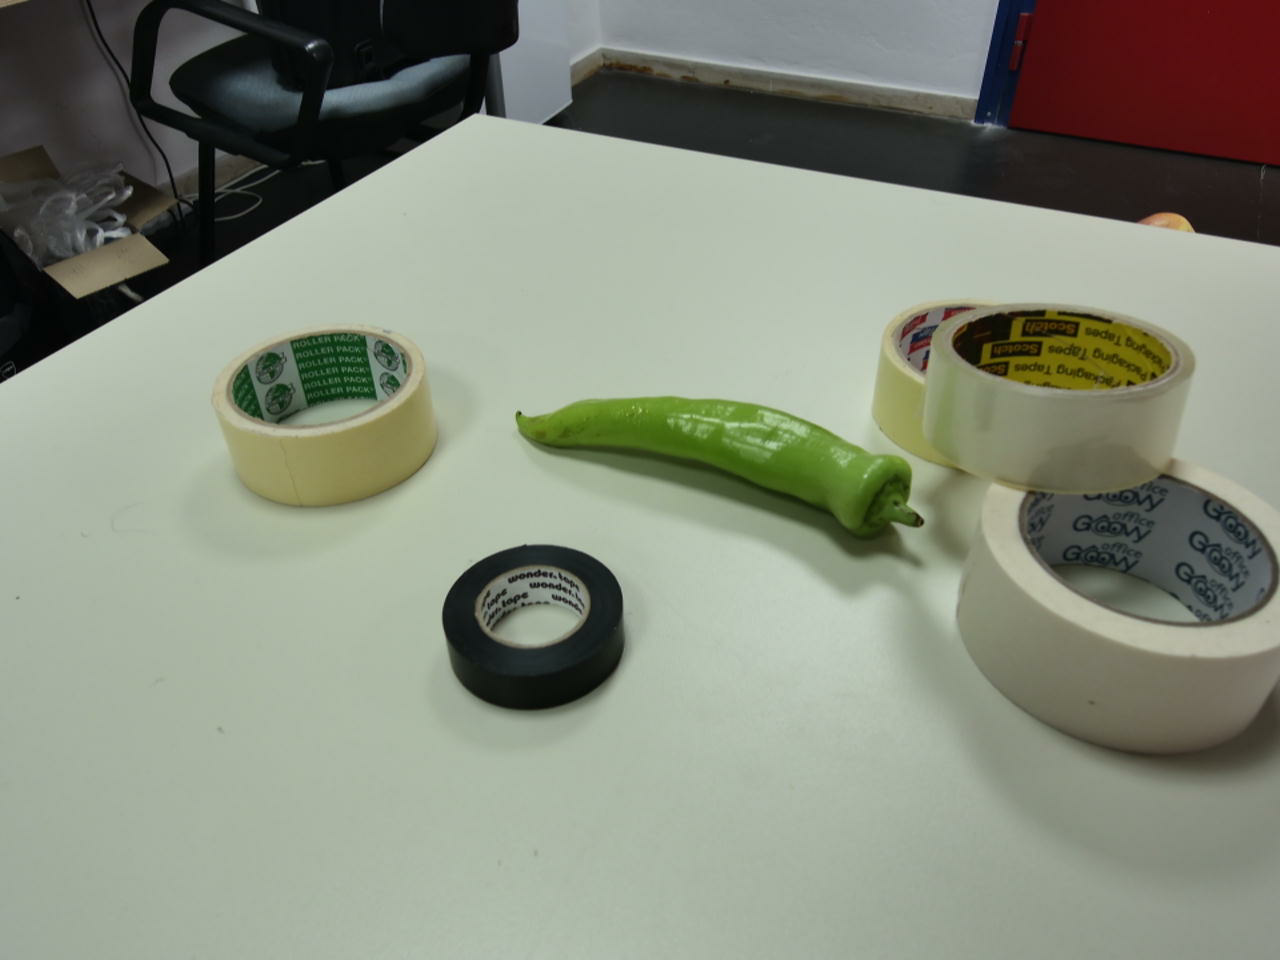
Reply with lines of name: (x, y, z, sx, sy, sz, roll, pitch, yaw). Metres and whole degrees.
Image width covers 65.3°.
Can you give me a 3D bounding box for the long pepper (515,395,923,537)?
long pepper: (0.031, -0.017, 0.437, 0.197, 0.038, 0.046, 19, 41, 23)
